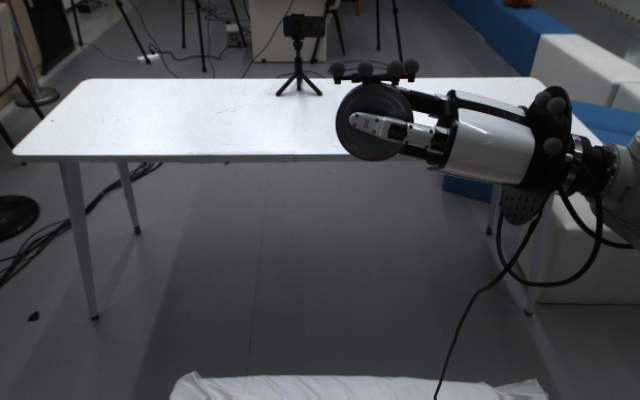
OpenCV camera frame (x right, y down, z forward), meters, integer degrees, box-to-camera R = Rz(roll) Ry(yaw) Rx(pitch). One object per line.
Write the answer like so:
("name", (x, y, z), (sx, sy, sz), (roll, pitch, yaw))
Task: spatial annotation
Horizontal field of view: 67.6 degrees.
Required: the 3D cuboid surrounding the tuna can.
("tuna can", (0.062, -0.090, 0.547), (0.085, 0.085, 0.034), (4, 18, 3))
